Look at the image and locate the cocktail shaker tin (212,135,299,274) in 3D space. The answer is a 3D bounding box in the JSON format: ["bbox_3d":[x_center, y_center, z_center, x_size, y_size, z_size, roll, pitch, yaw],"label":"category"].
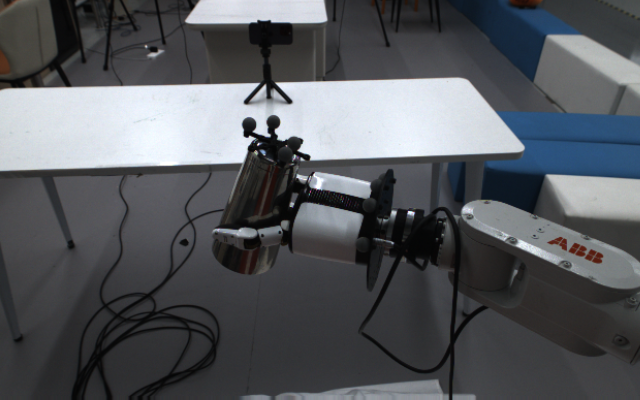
[{"bbox_3d":[-0.081,0.006,0.641,0.093,0.170,0.093,15,31,-10],"label":"cocktail shaker tin"}]
